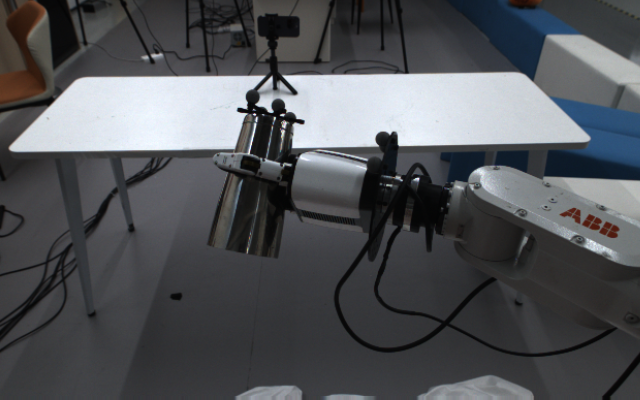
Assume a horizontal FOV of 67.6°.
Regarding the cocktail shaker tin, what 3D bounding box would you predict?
[{"bbox_3d":[-0.080,-0.017,0.617,0.093,0.170,0.093,11,-5,1],"label":"cocktail shaker tin"}]
